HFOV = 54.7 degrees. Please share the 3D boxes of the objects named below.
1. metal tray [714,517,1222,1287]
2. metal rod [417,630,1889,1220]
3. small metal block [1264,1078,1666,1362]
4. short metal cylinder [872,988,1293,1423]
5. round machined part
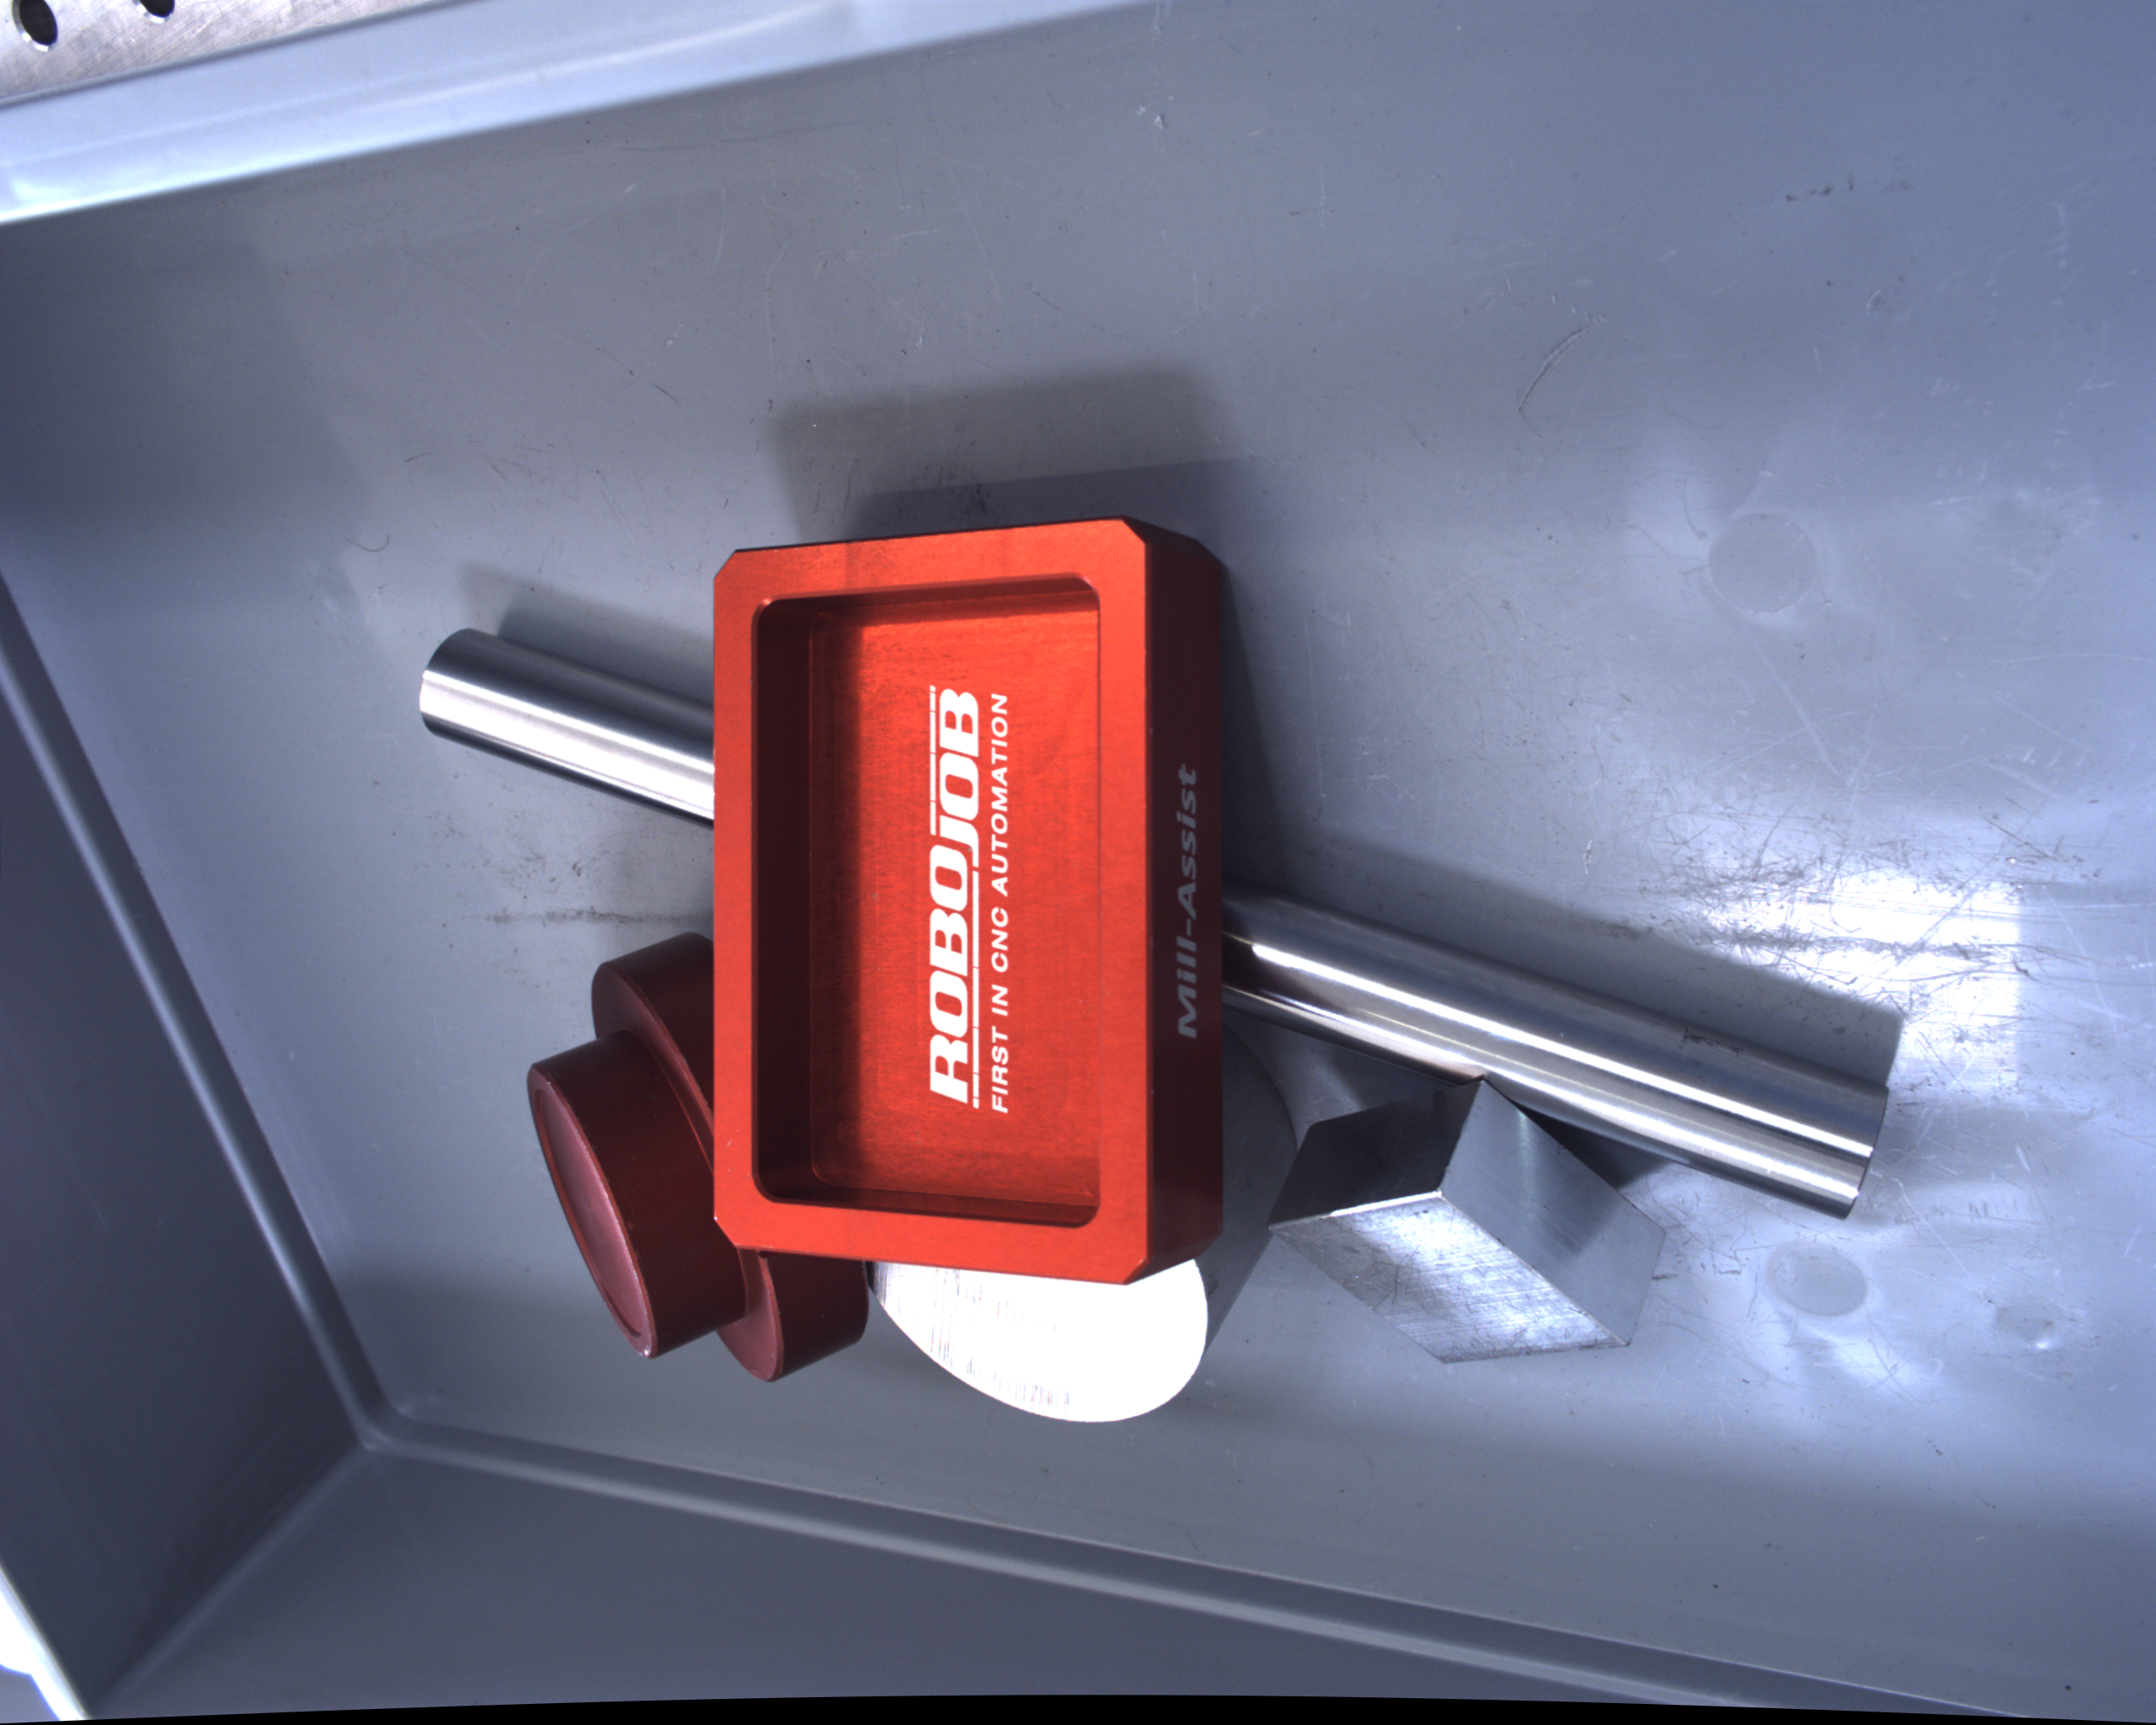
[{"bbox_3d":[-0.021,0.007,0.380,0.090,0.030,0.129,0,89,27],"label":"metal tray"},{"bbox_3d":[0.001,0.006,0.409,0.301,0.025,0.025,18,126,17],"label":"metal rod"},{"bbox_3d":[0.073,0.069,0.397,0.050,0.025,0.050,38,147,-18],"label":"small metal block"},{"bbox_3d":[-0.001,0.068,0.433,0.080,0.050,0.079,13,124,21],"label":"short metal cylinder"},{"bbox_3d":[-0.086,0.068,0.452,0.098,0.042,0.097,43,145,42],"label":"round machined part"}]
